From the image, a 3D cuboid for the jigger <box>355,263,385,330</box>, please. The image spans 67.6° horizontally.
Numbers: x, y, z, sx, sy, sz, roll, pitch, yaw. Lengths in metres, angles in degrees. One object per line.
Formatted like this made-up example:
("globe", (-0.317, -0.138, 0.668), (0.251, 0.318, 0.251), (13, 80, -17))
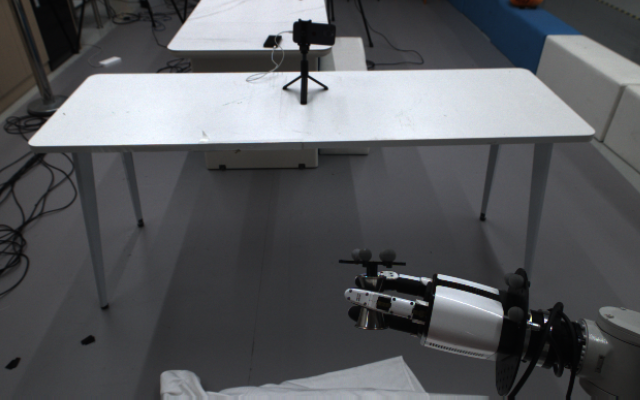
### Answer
("jigger", (0.069, 0.134, 0.648), (0.043, 0.071, 0.043), (1, -6, 0))
